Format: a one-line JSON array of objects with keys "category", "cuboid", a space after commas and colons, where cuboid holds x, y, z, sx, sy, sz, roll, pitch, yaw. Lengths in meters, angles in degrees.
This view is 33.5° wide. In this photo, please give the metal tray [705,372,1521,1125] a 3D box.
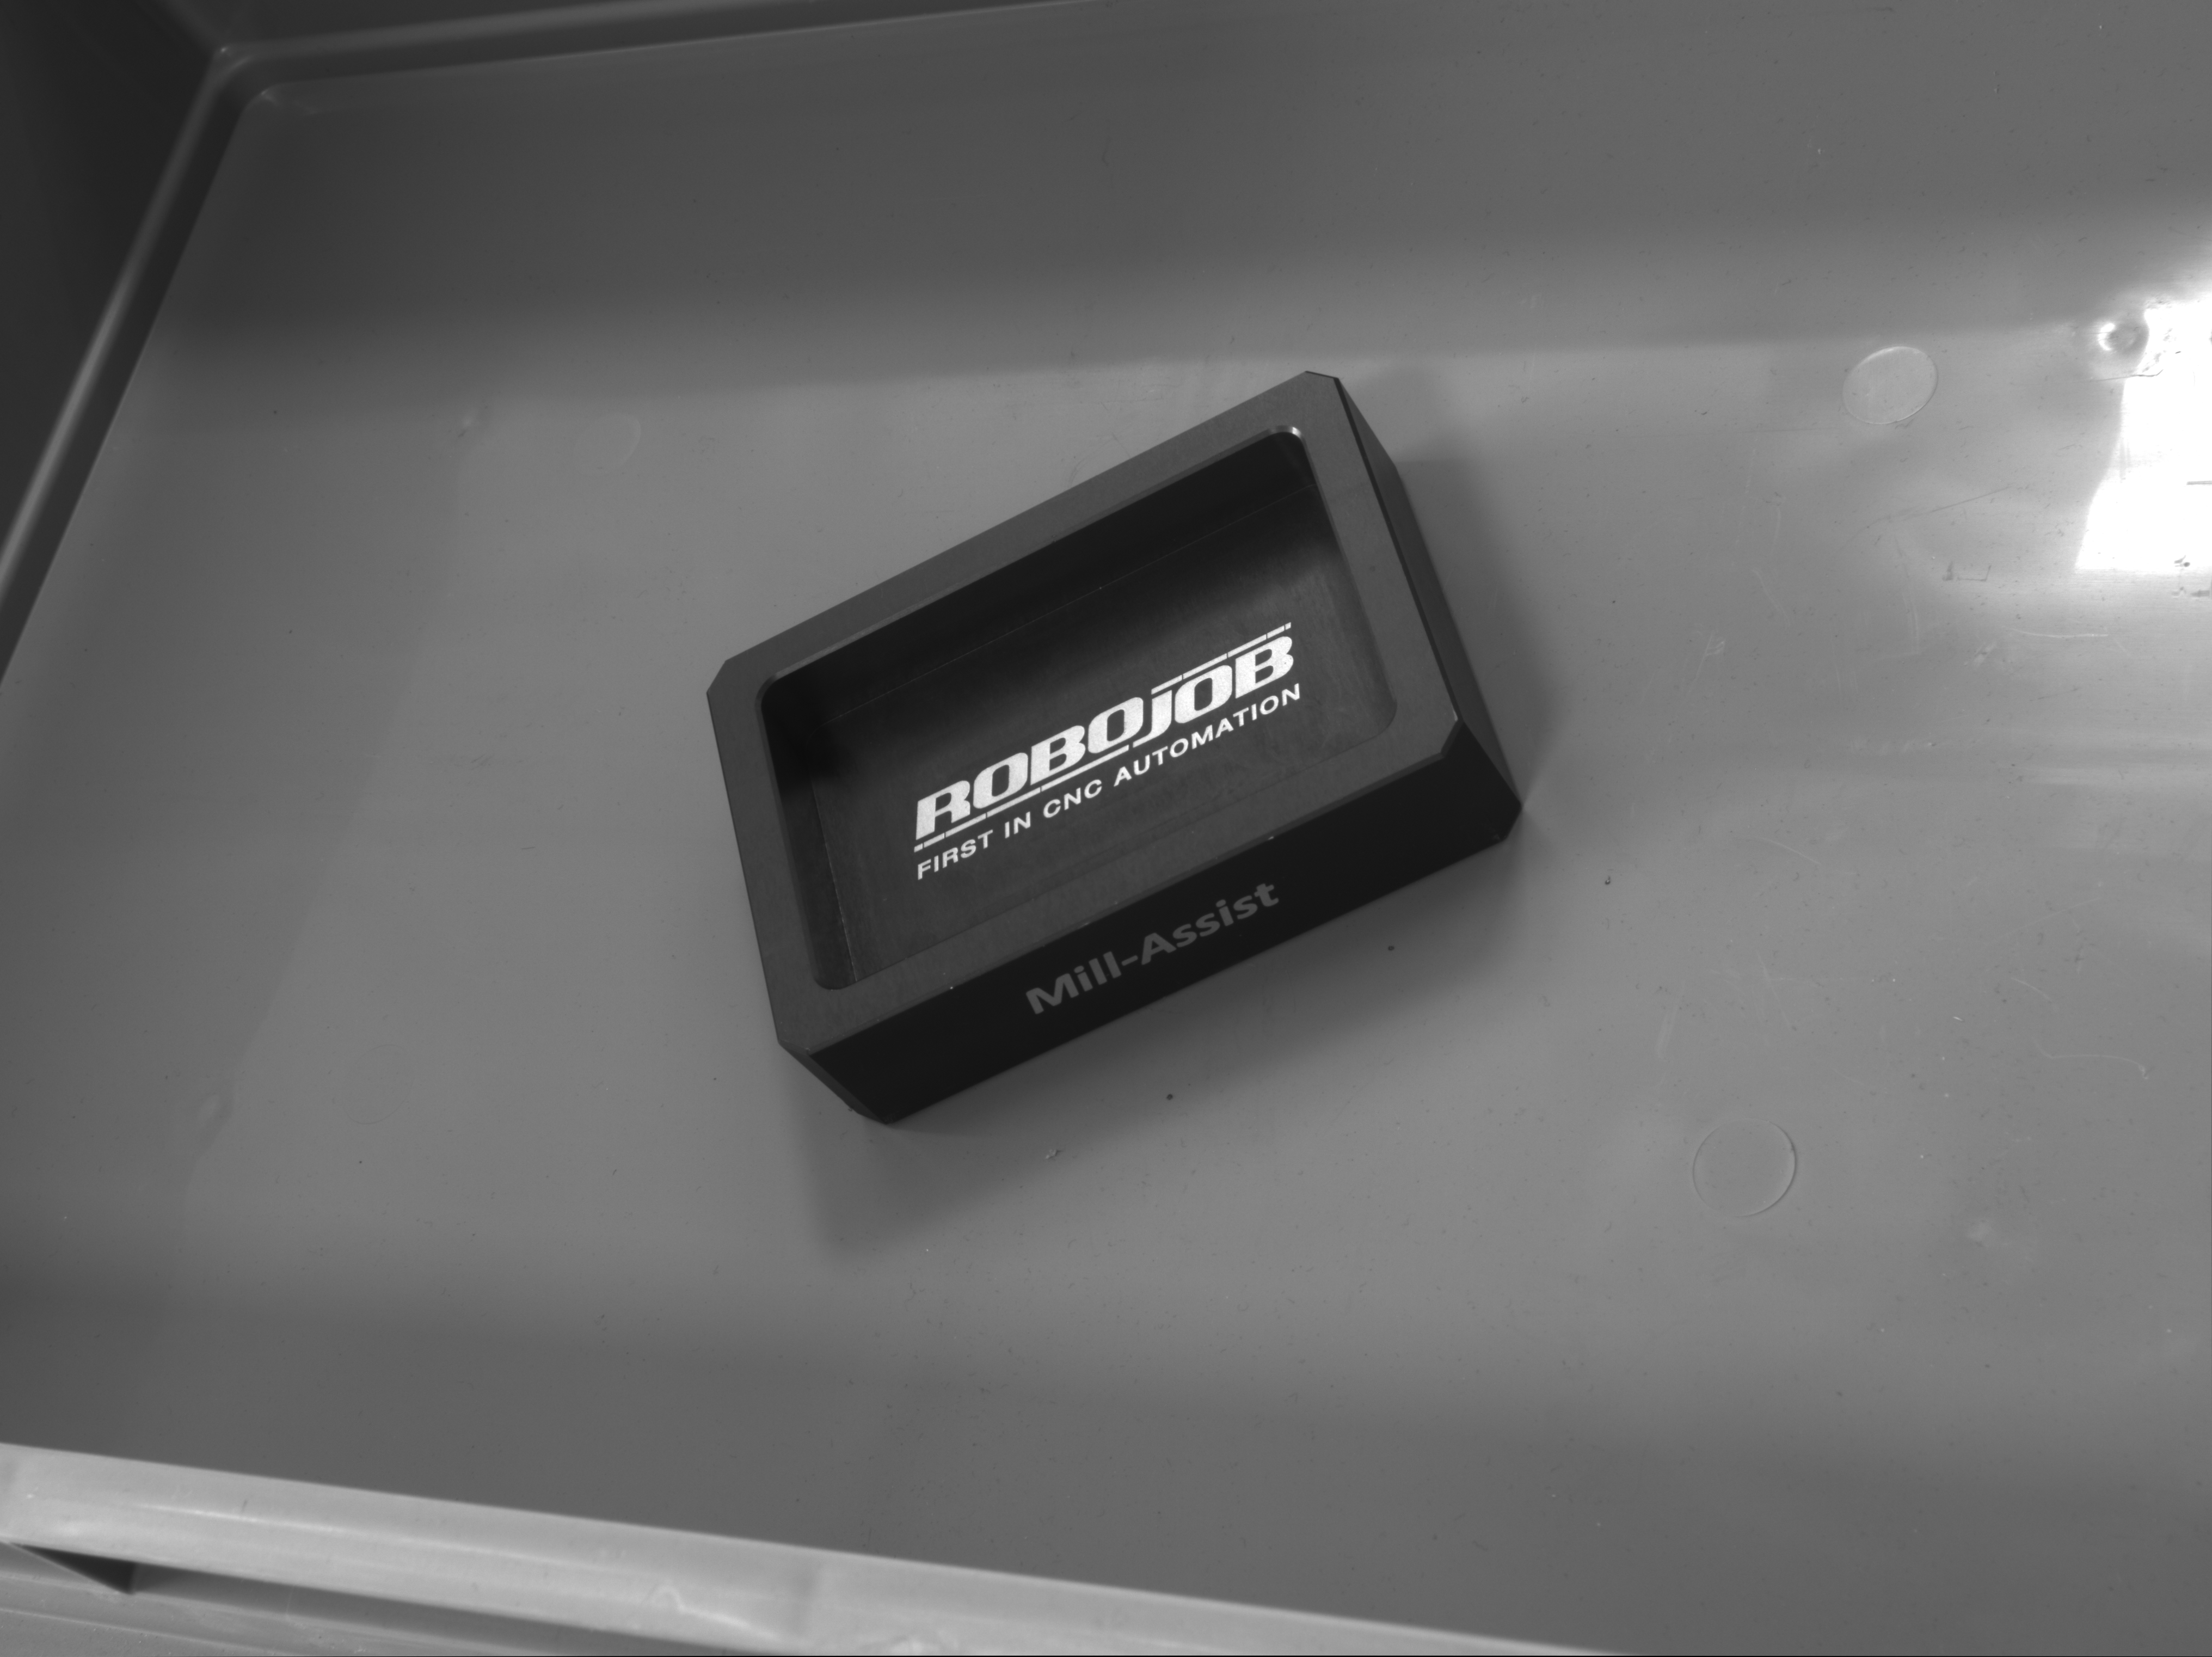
[{"category": "metal tray", "cuboid": [-0.002, -0.014, 0.649, 0.130, 0.030, 0.090, -25, 53, 12]}]
